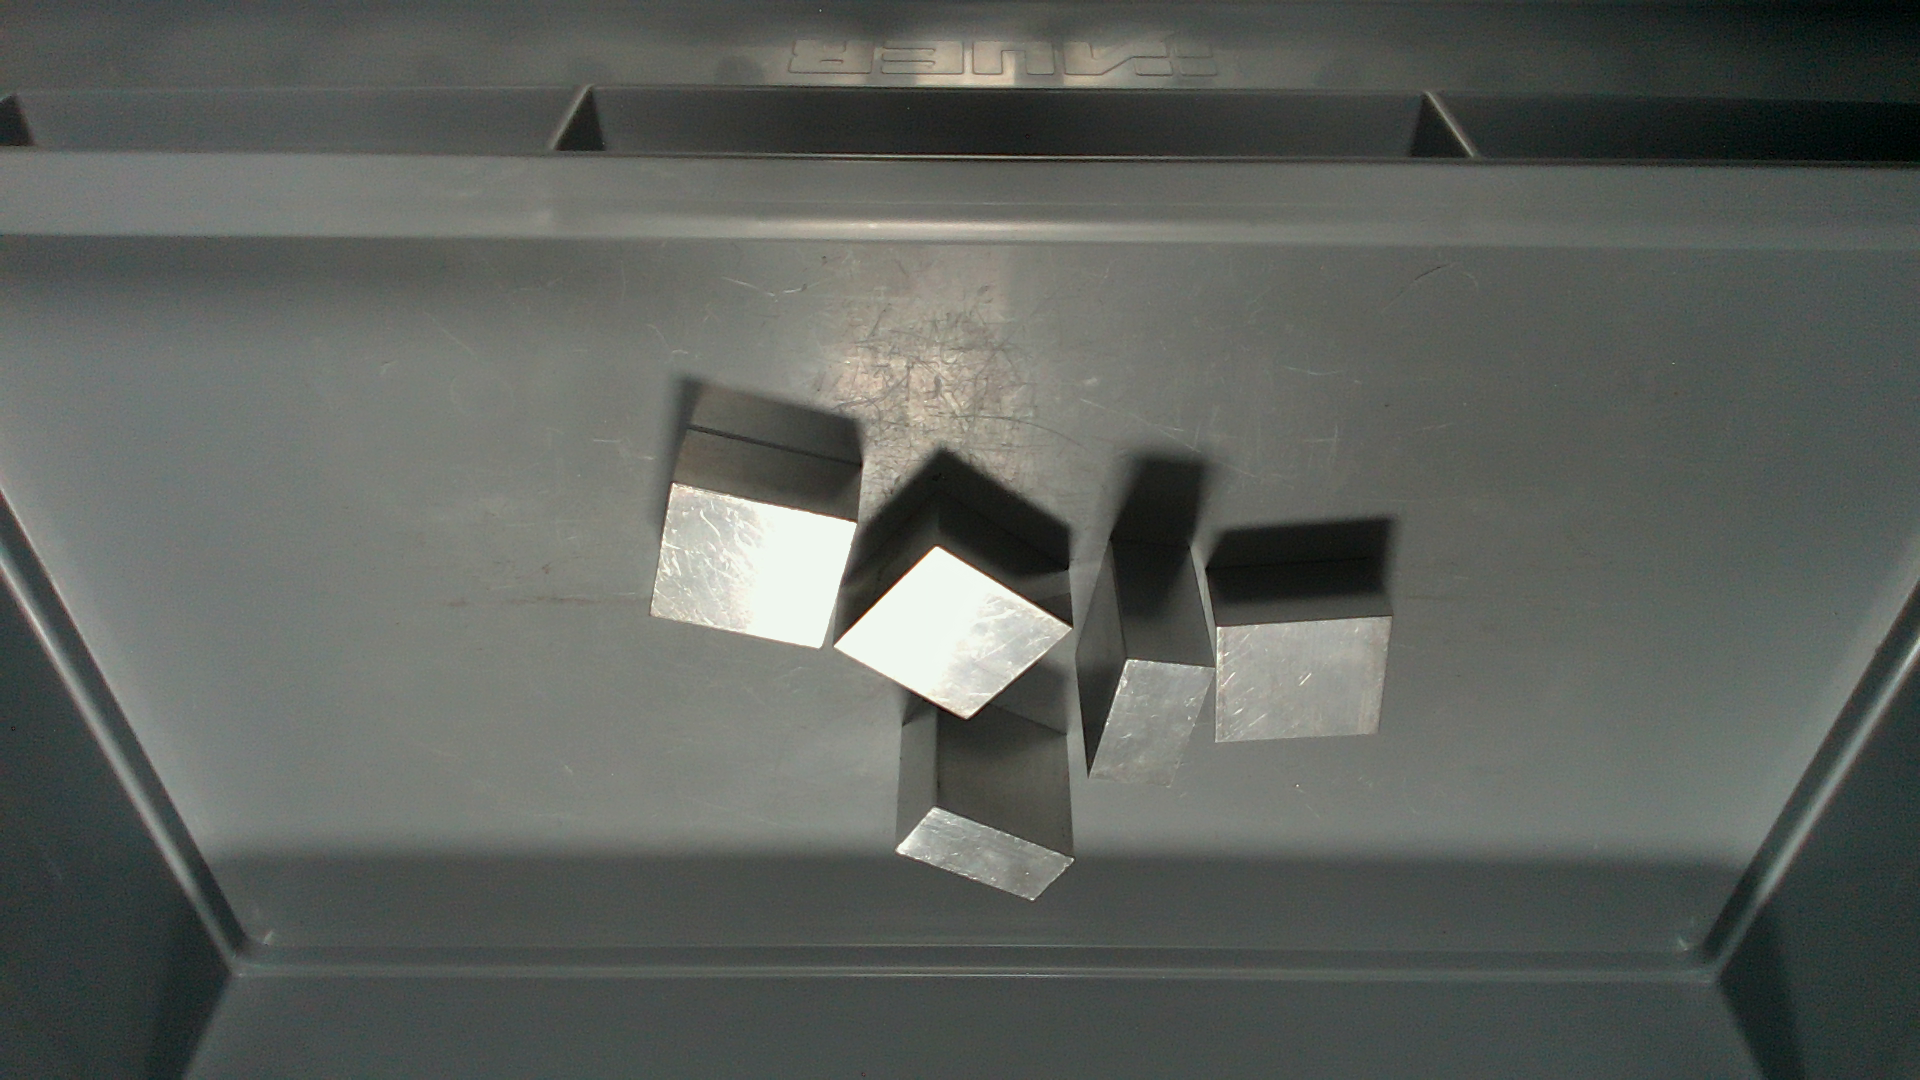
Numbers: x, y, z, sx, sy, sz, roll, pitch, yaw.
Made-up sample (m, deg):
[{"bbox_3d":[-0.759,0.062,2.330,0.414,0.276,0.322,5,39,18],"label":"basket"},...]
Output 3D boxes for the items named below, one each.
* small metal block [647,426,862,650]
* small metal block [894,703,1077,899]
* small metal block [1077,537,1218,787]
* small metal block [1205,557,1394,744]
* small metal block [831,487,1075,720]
[{"bbox_3d":[-0.058,0.000,0.388,0.050,0.025,0.050,12,129,-10],"label":"small metal block"},{"bbox_3d":[0.008,0.080,0.439,0.050,0.050,0.025,24,127,-20],"label":"small metal block"},{"bbox_3d":[0.053,0.036,0.403,0.025,0.050,0.050,7,130,-6],"label":"small metal block"},{"bbox_3d":[0.101,0.034,0.418,0.050,0.025,0.050,-5,130,4],"label":"small metal block"},{"bbox_3d":[-0.002,0.020,0.404,0.050,0.025,0.050,31,123,-24],"label":"small metal block"}]
